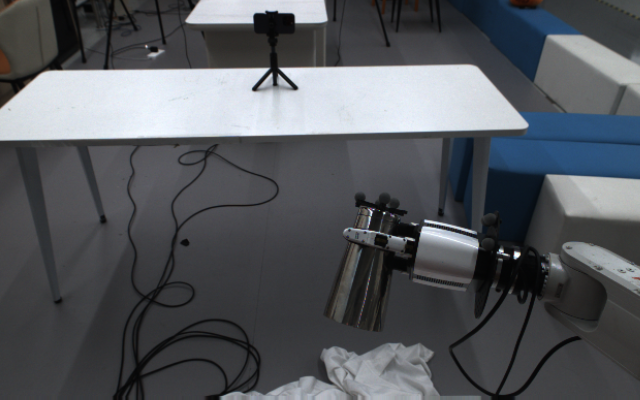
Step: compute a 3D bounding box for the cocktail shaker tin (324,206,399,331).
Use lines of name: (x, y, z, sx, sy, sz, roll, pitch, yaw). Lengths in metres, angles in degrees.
cocktail shaker tin: (0.072, 0.099, 0.736, 0.093, 0.170, 0.093, 15, -5, 1)
